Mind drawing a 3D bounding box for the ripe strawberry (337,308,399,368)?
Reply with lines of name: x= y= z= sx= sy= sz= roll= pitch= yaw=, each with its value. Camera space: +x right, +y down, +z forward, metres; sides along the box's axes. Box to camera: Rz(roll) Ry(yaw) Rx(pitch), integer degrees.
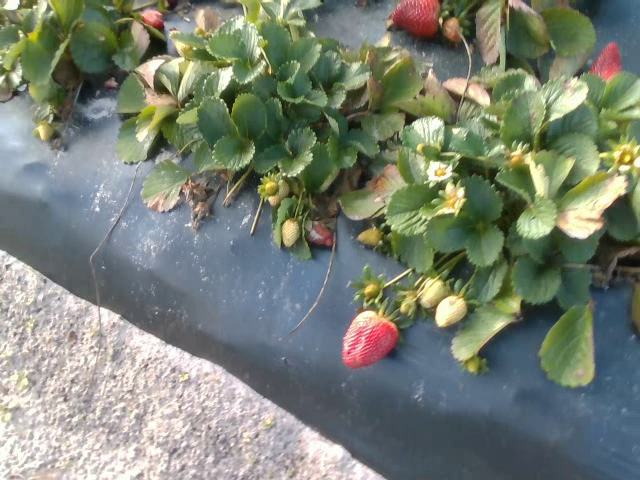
ripe strawberry: x=0.049 y=0.108 z=0.639 sx=0.052 sy=0.068 sz=0.045 roll=26 pitch=-28 yaw=18
